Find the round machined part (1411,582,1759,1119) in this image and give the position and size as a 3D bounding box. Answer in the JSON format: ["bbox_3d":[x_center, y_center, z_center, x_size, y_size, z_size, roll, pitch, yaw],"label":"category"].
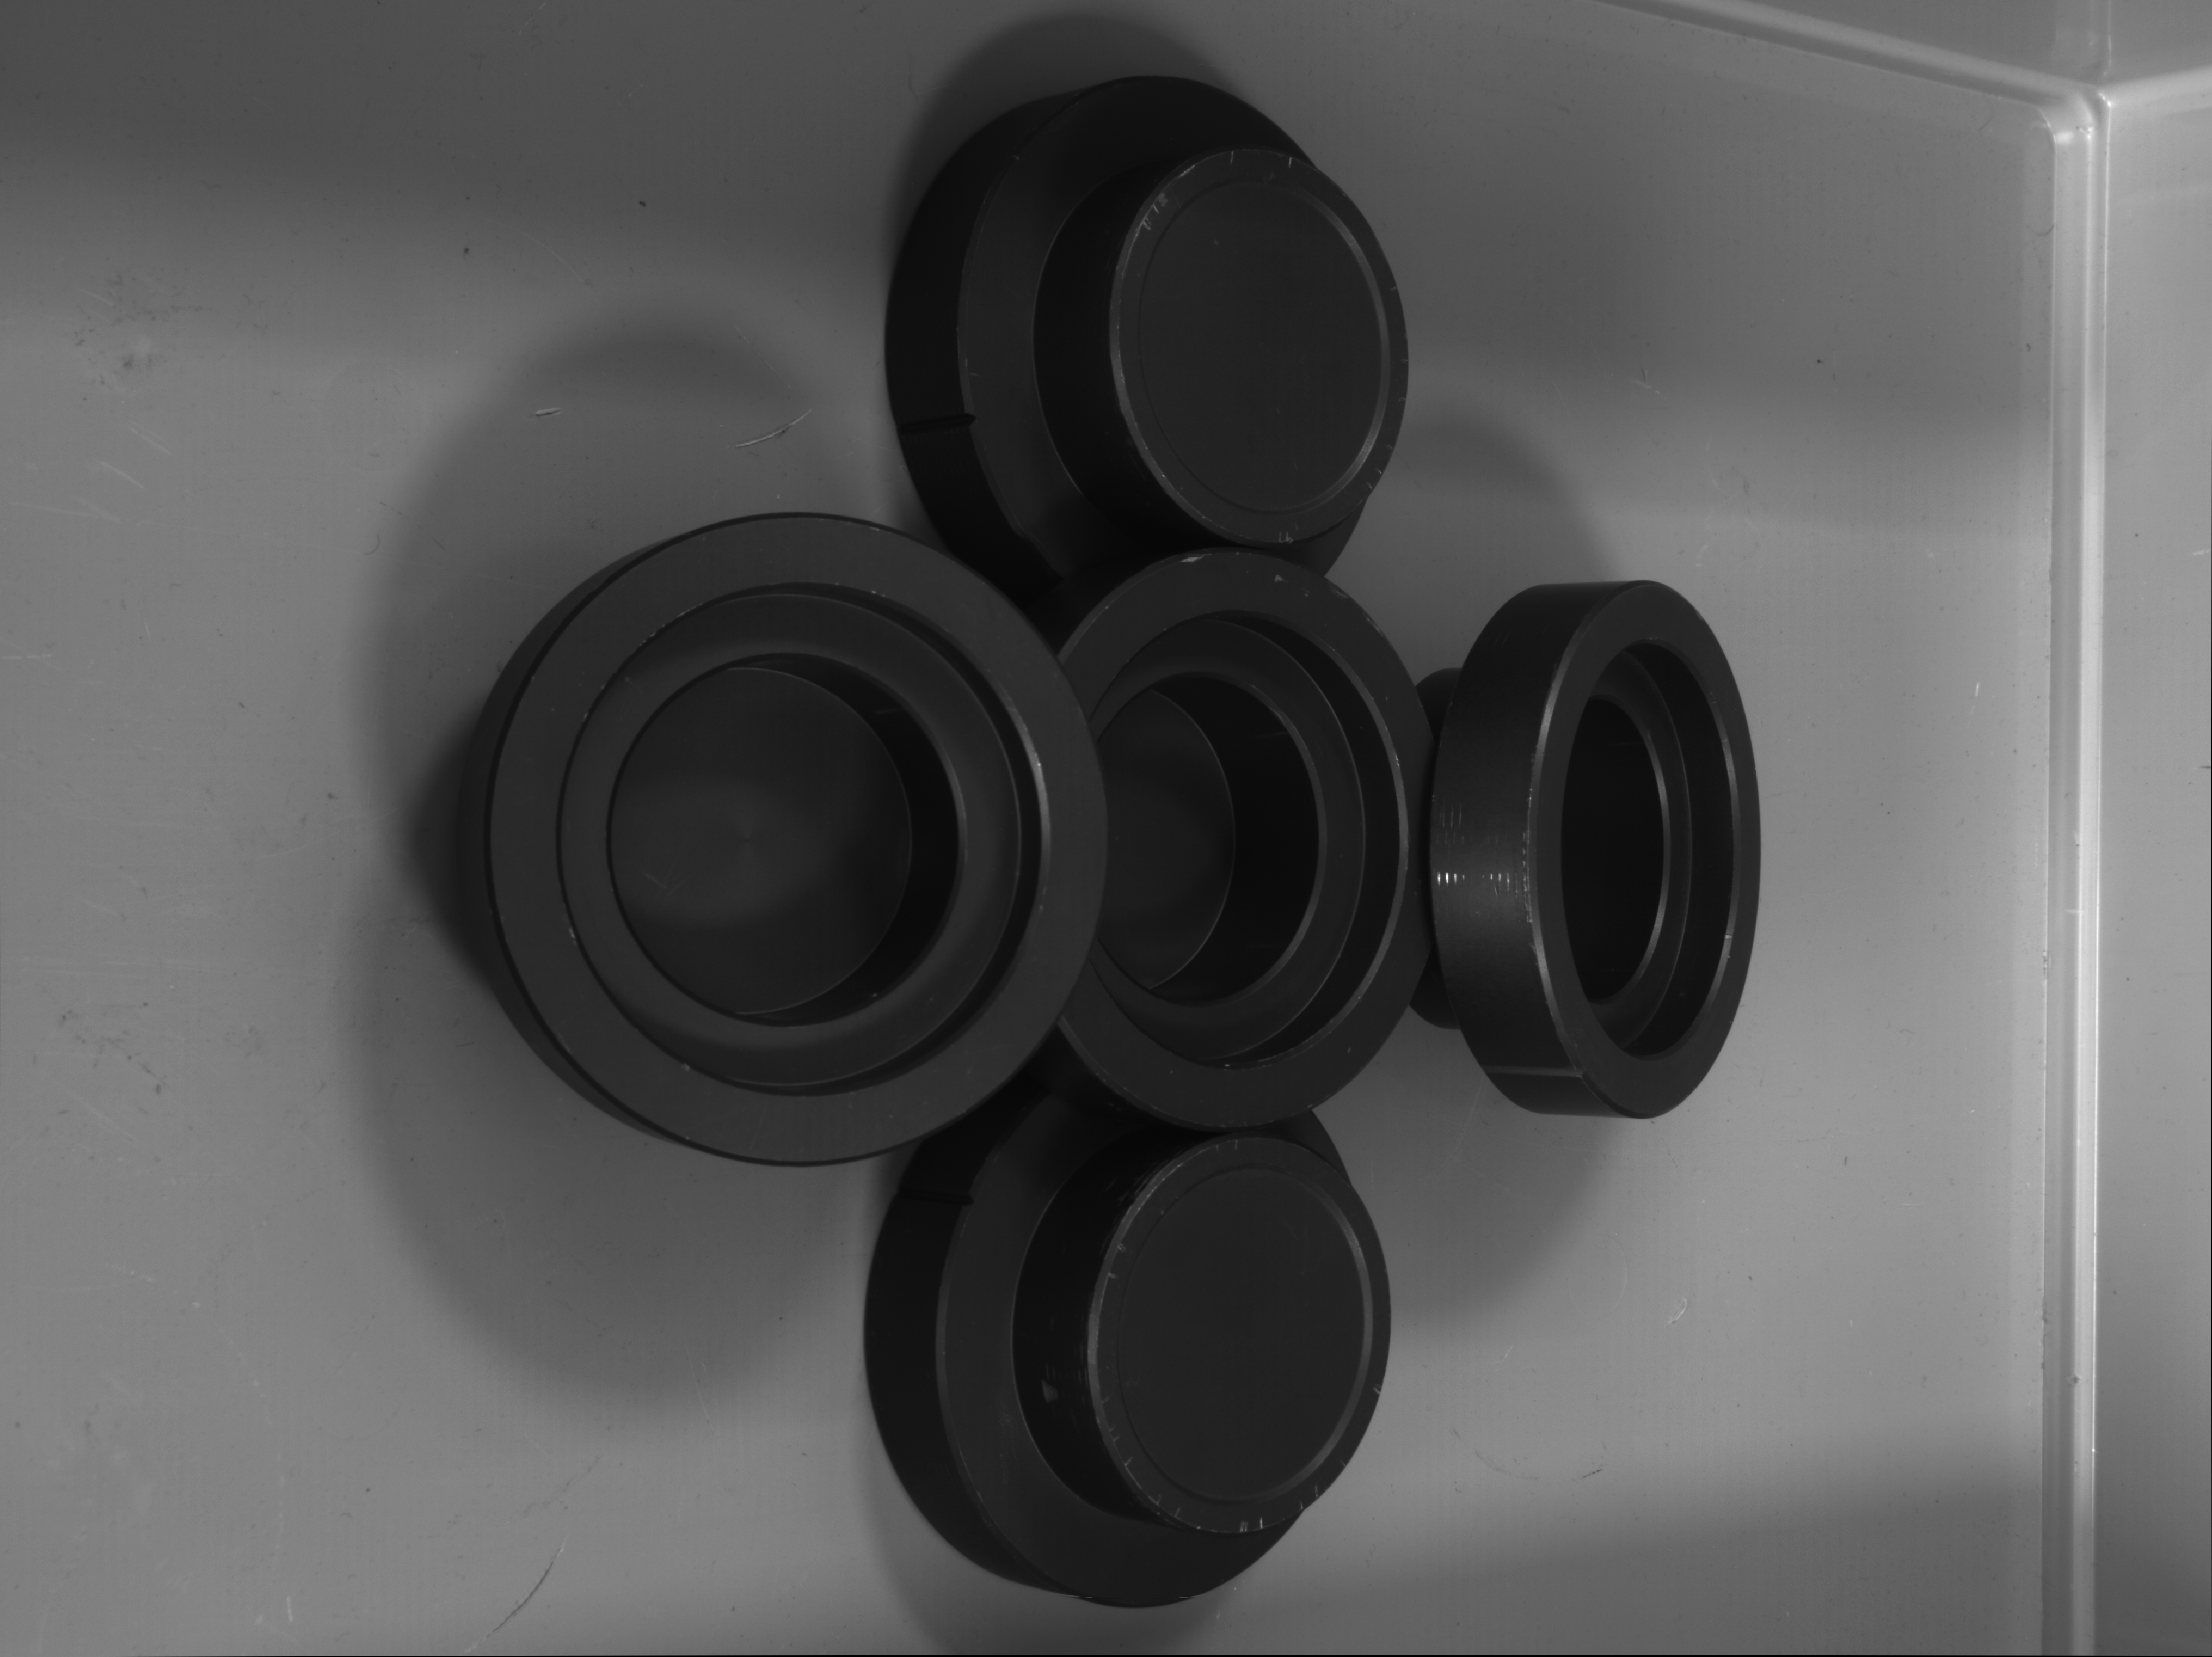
[{"bbox_3d":[0.082,0.004,0.680,0.098,0.042,0.098,0,91,-56],"label":"round machined part"}]

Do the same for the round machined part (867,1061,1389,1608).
[{"bbox_3d":[0.010,0.085,0.632,0.098,0.042,0.098,0,90,-40],"label":"round machined part"}]

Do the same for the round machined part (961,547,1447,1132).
[{"bbox_3d":[0.010,0.002,0.630,0.098,0.042,0.098,0,90,-40],"label":"round machined part"}]

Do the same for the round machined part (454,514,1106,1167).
[{"bbox_3d":[-0.053,0.002,0.569,0.098,0.042,0.098,0,90,-22],"label":"round machined part"}]

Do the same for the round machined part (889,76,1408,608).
[{"bbox_3d":[0.014,-0.081,0.634,0.098,0.042,0.098,0,90,-40],"label":"round machined part"}]
